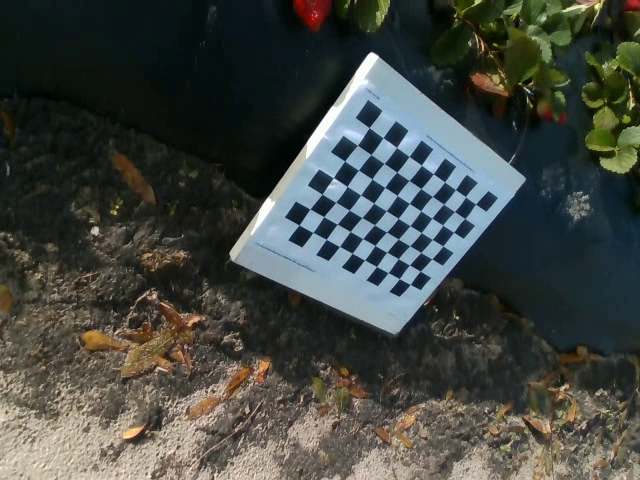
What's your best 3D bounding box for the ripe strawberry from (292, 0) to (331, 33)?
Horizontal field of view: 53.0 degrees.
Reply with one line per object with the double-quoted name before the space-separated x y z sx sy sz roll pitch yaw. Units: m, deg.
"ripe strawberry" -0.003 -0.184 0.513 0.041 0.047 0.041 2 -27 -15
